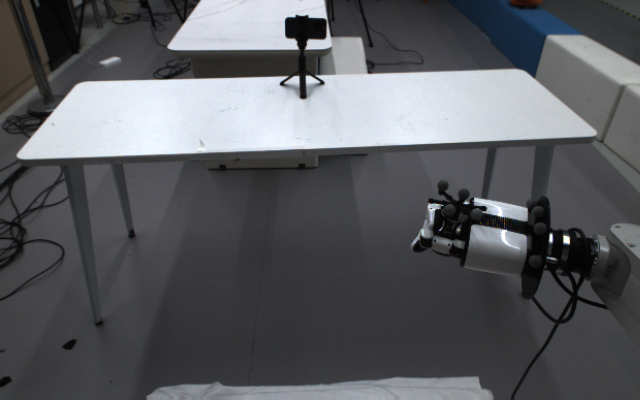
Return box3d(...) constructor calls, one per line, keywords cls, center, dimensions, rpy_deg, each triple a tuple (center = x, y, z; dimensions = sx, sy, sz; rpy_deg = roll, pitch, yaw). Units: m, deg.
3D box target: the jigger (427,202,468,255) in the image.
box3d(cls="jigger", center=(0.204, 0.049, 0.766), dimensions=(0.043, 0.071, 0.043), rpy_deg=(7, 32, -4))
